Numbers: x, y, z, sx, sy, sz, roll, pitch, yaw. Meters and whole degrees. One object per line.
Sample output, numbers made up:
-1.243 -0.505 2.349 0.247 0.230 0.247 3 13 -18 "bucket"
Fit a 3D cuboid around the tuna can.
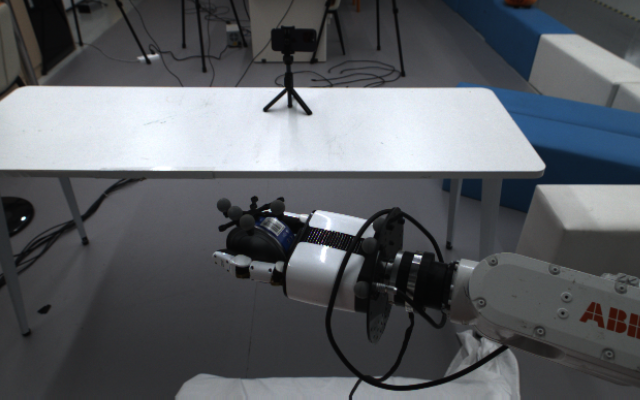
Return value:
-0.068 0.058 0.600 0.085 0.085 0.034 17 36 20 "tuna can"
